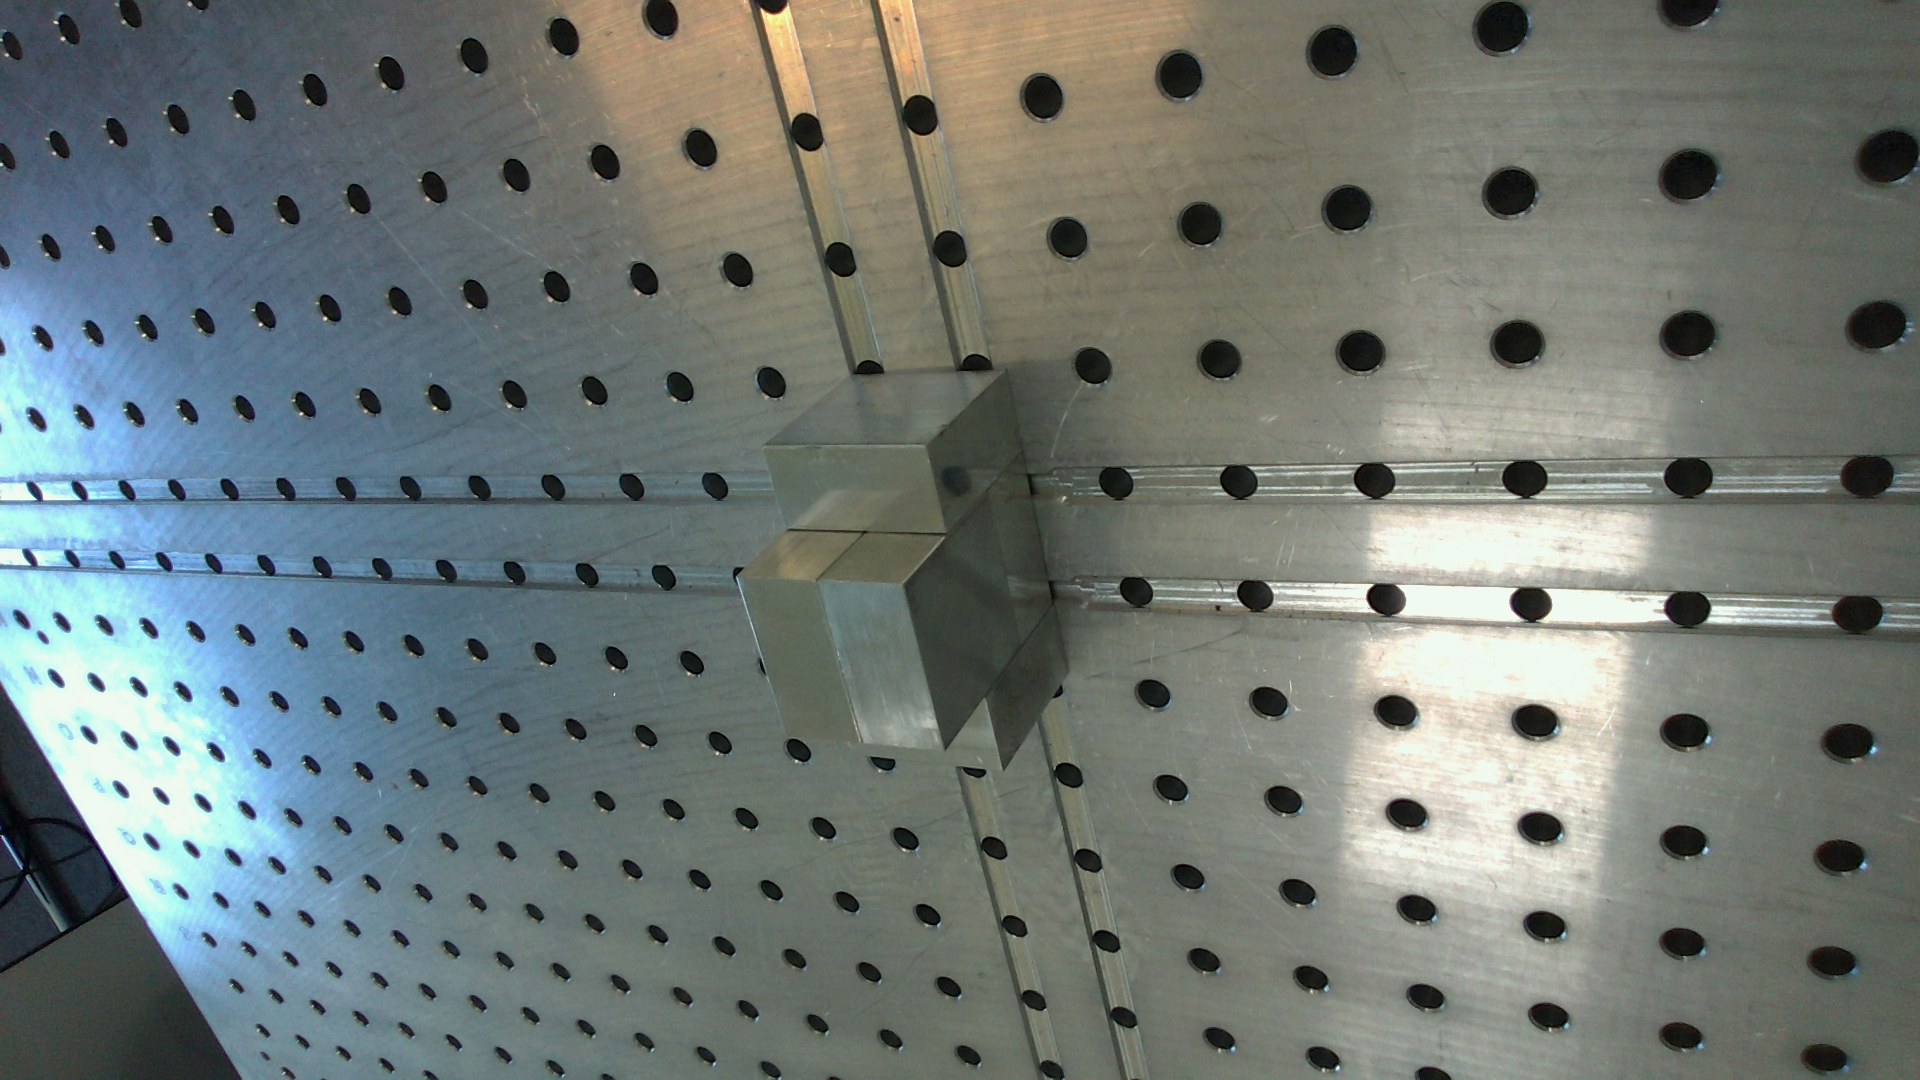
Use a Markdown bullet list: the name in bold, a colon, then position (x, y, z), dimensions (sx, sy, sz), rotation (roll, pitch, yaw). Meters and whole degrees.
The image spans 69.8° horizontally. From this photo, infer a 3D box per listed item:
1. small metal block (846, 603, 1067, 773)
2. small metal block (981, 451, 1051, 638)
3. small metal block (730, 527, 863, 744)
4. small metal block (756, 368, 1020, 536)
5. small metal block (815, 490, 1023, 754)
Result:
- **small metal block**: position (-0.003, 0.041, 0.406), dimensions (0.050, 0.050, 0.025), rotation (2, 119, 28)
- **small metal block**: position (-0.006, 0.002, 0.400), dimensions (0.050, 0.025, 0.050), rotation (2, 120, 29)
- **small metal block**: position (-0.032, 0.020, 0.376), dimensions (0.025, 0.050, 0.050), rotation (2, 119, 27)
- **small metal block**: position (-0.018, -0.025, 0.373), dimensions (0.050, 0.050, 0.025), rotation (2, 120, 27)
- **small metal block**: position (-0.009, 0.020, 0.364), dimensions (0.025, 0.050, 0.050), rotation (2, 120, 29)
